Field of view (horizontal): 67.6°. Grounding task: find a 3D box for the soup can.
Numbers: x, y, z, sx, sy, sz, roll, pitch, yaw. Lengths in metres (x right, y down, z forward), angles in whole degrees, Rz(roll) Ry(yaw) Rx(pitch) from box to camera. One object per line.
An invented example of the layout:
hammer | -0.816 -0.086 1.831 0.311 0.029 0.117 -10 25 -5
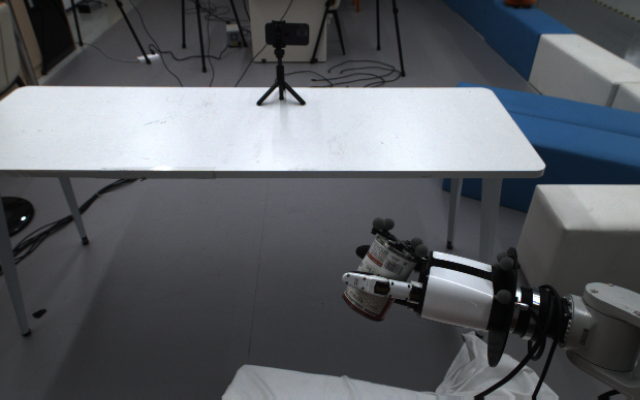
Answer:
soup can | 0.086 0.108 0.675 0.067 0.101 0.067 27 10 -5
